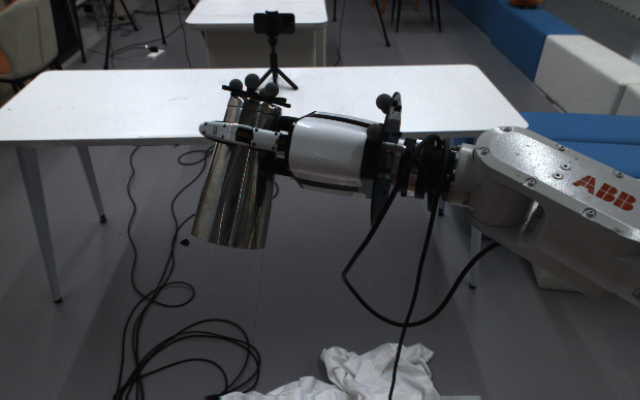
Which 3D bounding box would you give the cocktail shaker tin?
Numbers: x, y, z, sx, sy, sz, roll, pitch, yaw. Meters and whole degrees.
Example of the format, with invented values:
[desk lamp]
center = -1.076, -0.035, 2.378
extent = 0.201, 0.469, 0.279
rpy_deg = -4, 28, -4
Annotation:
[cocktail shaker tin]
center = -0.094, -0.037, 0.593
extent = 0.093, 0.170, 0.093
rpy_deg = 12, 3, -1
